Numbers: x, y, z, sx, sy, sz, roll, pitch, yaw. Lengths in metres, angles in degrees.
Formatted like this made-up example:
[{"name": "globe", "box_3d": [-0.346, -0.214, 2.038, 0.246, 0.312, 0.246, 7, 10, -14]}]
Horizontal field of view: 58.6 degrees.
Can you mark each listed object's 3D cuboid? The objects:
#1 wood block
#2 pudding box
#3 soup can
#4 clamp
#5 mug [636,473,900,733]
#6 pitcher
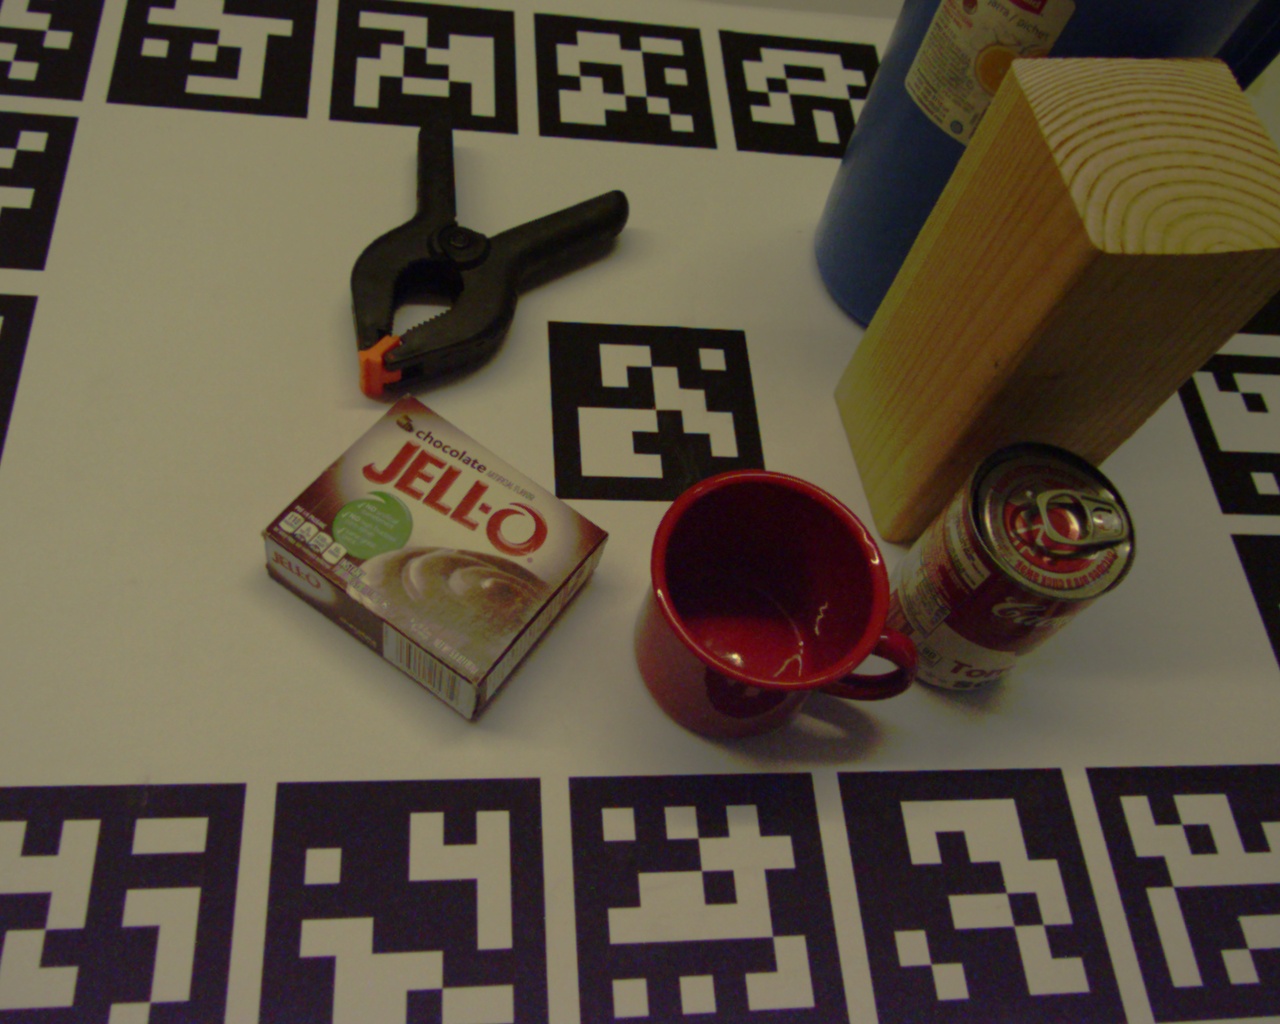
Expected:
[{"name": "wood block", "box_3d": [0.163, -0.077, 0.505, 0.089, 0.207, 0.091, -1, 61, -15]}, {"name": "pudding box", "box_3d": [-0.093, 0.020, 0.508, 0.114, 0.038, 0.089, 32, 63, 10]}, {"name": "soup can", "box_3d": [0.145, 0.027, 0.503, 0.067, 0.102, 0.068, 4, 63, -8]}, {"name": "clamp", "box_3d": [-0.088, -0.119, 0.594, 0.122, 0.037, 0.164, 28, 60, -2]}, {"name": "mug", "box_3d": [0.054, 0.050, 0.488, 0.118, 0.081, 0.093, 31, 58, 9]}, {"name": "pitcher", "box_3d": [0.178, -0.191, 0.554, 0.188, 0.242, 0.134, -2, 59, -8]}]
